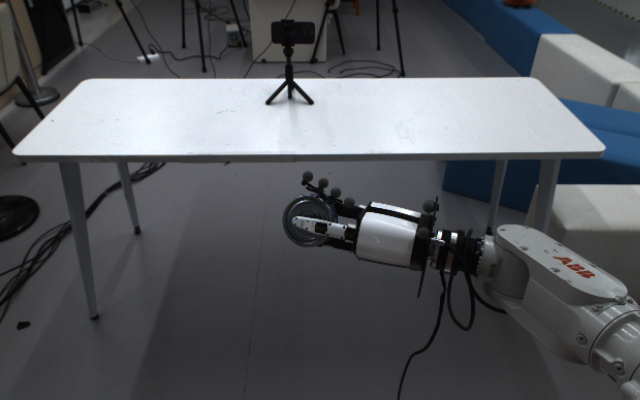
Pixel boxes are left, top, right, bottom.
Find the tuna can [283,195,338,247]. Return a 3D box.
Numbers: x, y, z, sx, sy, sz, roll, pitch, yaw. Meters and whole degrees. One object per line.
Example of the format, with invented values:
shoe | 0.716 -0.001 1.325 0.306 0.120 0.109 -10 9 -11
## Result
tuna can | -0.015 0.032 0.777 0.085 0.085 0.034 12 4 14
